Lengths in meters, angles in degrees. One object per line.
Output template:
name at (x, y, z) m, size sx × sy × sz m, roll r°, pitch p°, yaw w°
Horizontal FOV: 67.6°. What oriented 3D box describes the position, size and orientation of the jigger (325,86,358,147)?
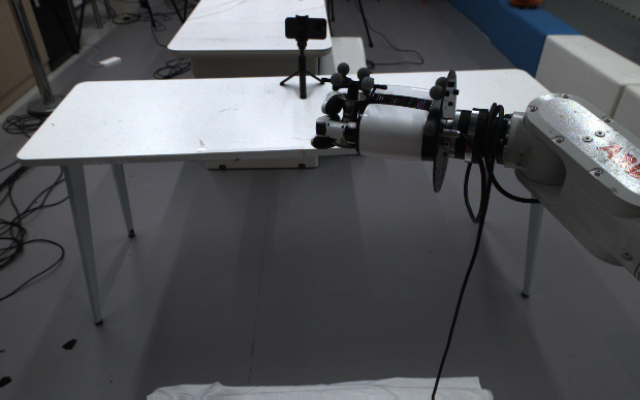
jigger at (0.038, -0.112, 0.675) m, size 0.043 × 0.071 × 0.043 m, roll 6°, pitch 26°, yaw -3°
